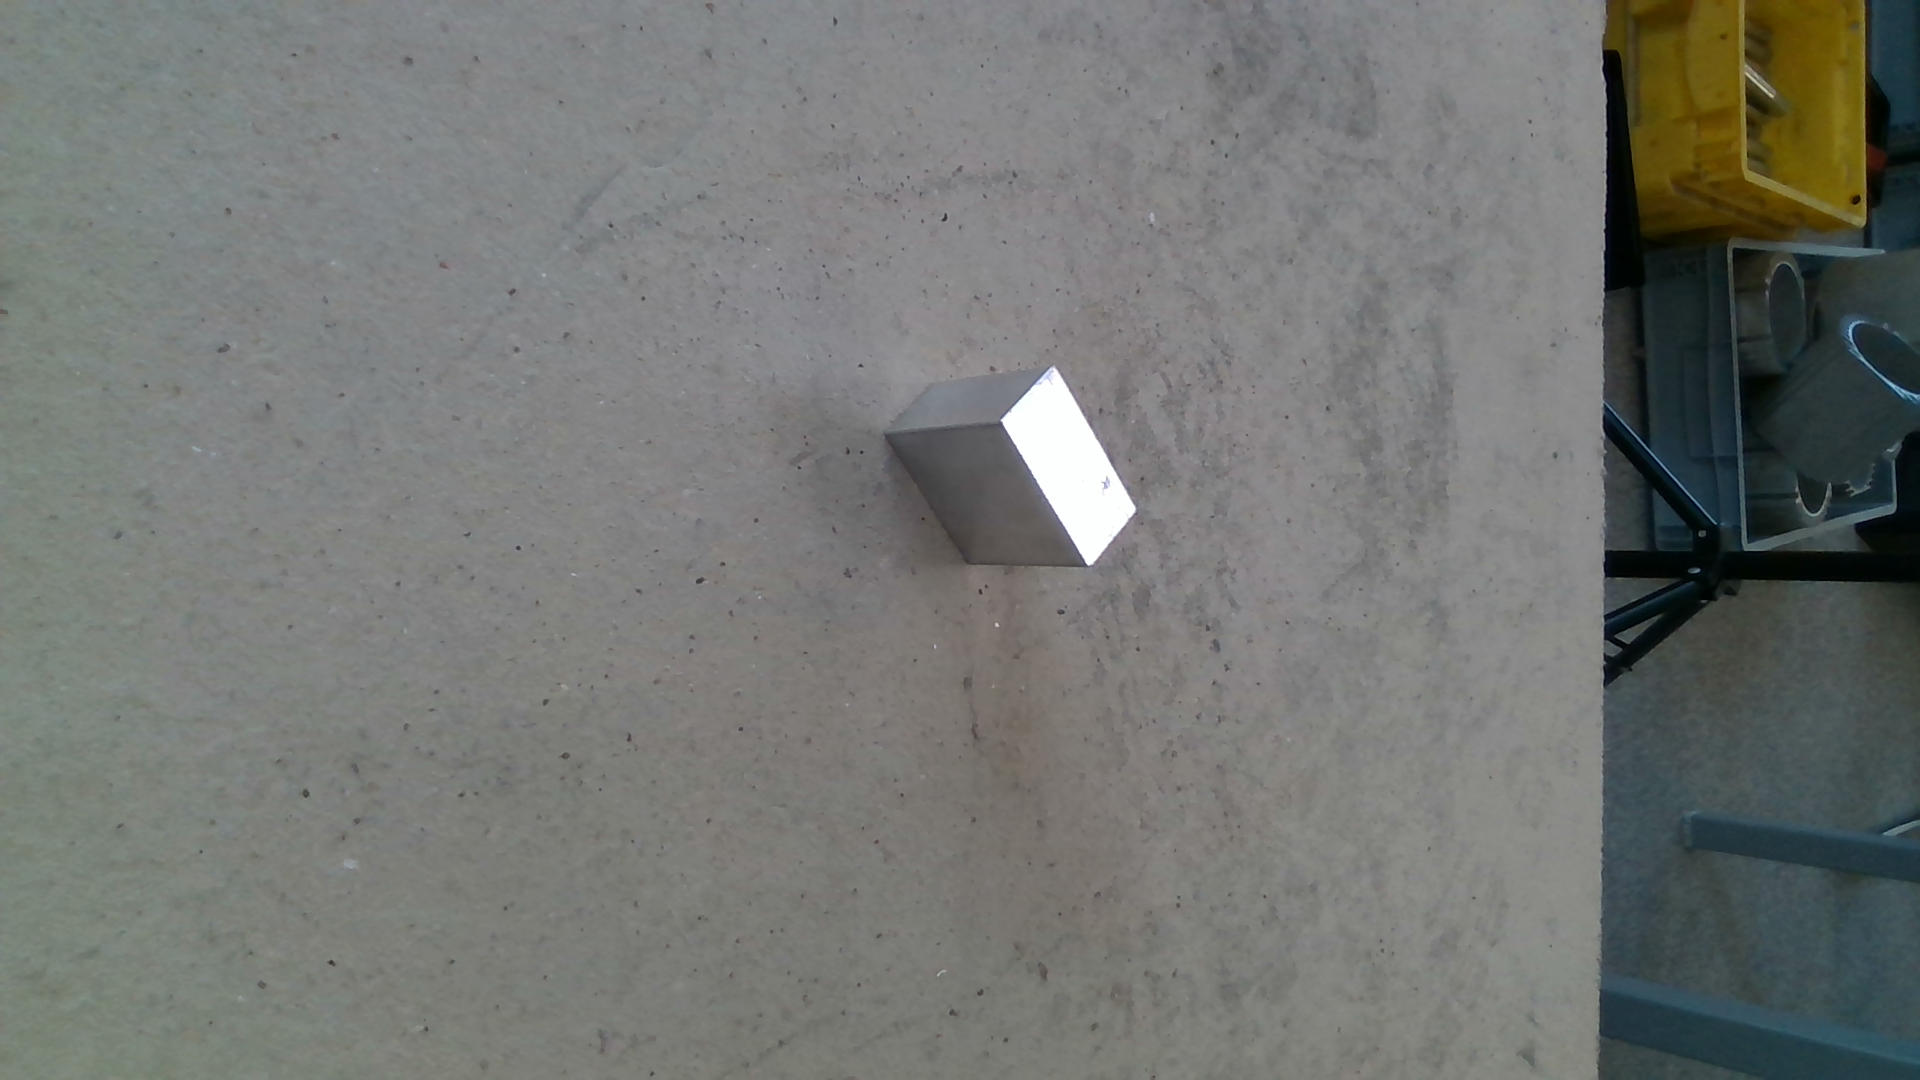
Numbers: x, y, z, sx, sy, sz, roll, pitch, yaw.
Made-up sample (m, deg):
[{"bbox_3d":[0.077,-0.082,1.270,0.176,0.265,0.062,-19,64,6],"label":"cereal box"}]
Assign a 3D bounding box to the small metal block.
[{"bbox_3d":[0.014,-0.020,0.386,0.025,0.050,0.050,-48,119,-30],"label":"small metal block"}]
